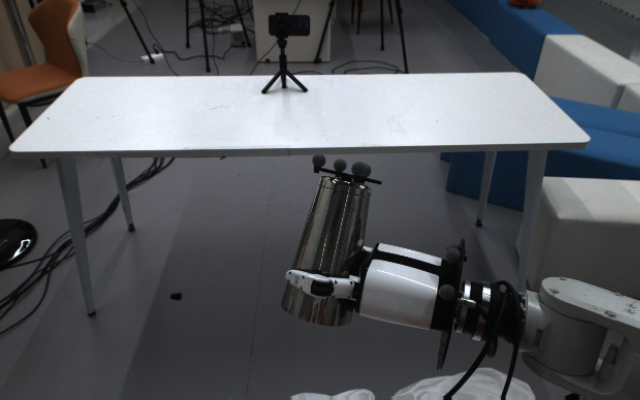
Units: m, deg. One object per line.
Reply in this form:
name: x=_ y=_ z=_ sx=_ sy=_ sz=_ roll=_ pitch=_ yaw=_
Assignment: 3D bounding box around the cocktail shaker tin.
cocktail shaker tin: x=0.014 y=0.060 z=0.610 sx=0.093 sy=0.170 sz=0.093 roll=13 pitch=4 yaw=-1
